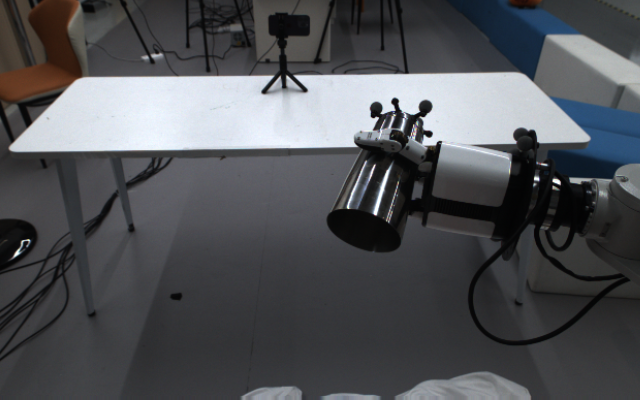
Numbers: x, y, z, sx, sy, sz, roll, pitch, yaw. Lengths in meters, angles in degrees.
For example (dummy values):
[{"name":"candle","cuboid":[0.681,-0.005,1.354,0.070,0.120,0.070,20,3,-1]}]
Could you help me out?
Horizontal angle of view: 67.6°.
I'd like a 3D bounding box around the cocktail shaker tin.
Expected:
[{"name":"cocktail shaker tin","cuboid":[0.079,-0.032,0.609,0.093,0.093,0.170,14,57,16]}]
